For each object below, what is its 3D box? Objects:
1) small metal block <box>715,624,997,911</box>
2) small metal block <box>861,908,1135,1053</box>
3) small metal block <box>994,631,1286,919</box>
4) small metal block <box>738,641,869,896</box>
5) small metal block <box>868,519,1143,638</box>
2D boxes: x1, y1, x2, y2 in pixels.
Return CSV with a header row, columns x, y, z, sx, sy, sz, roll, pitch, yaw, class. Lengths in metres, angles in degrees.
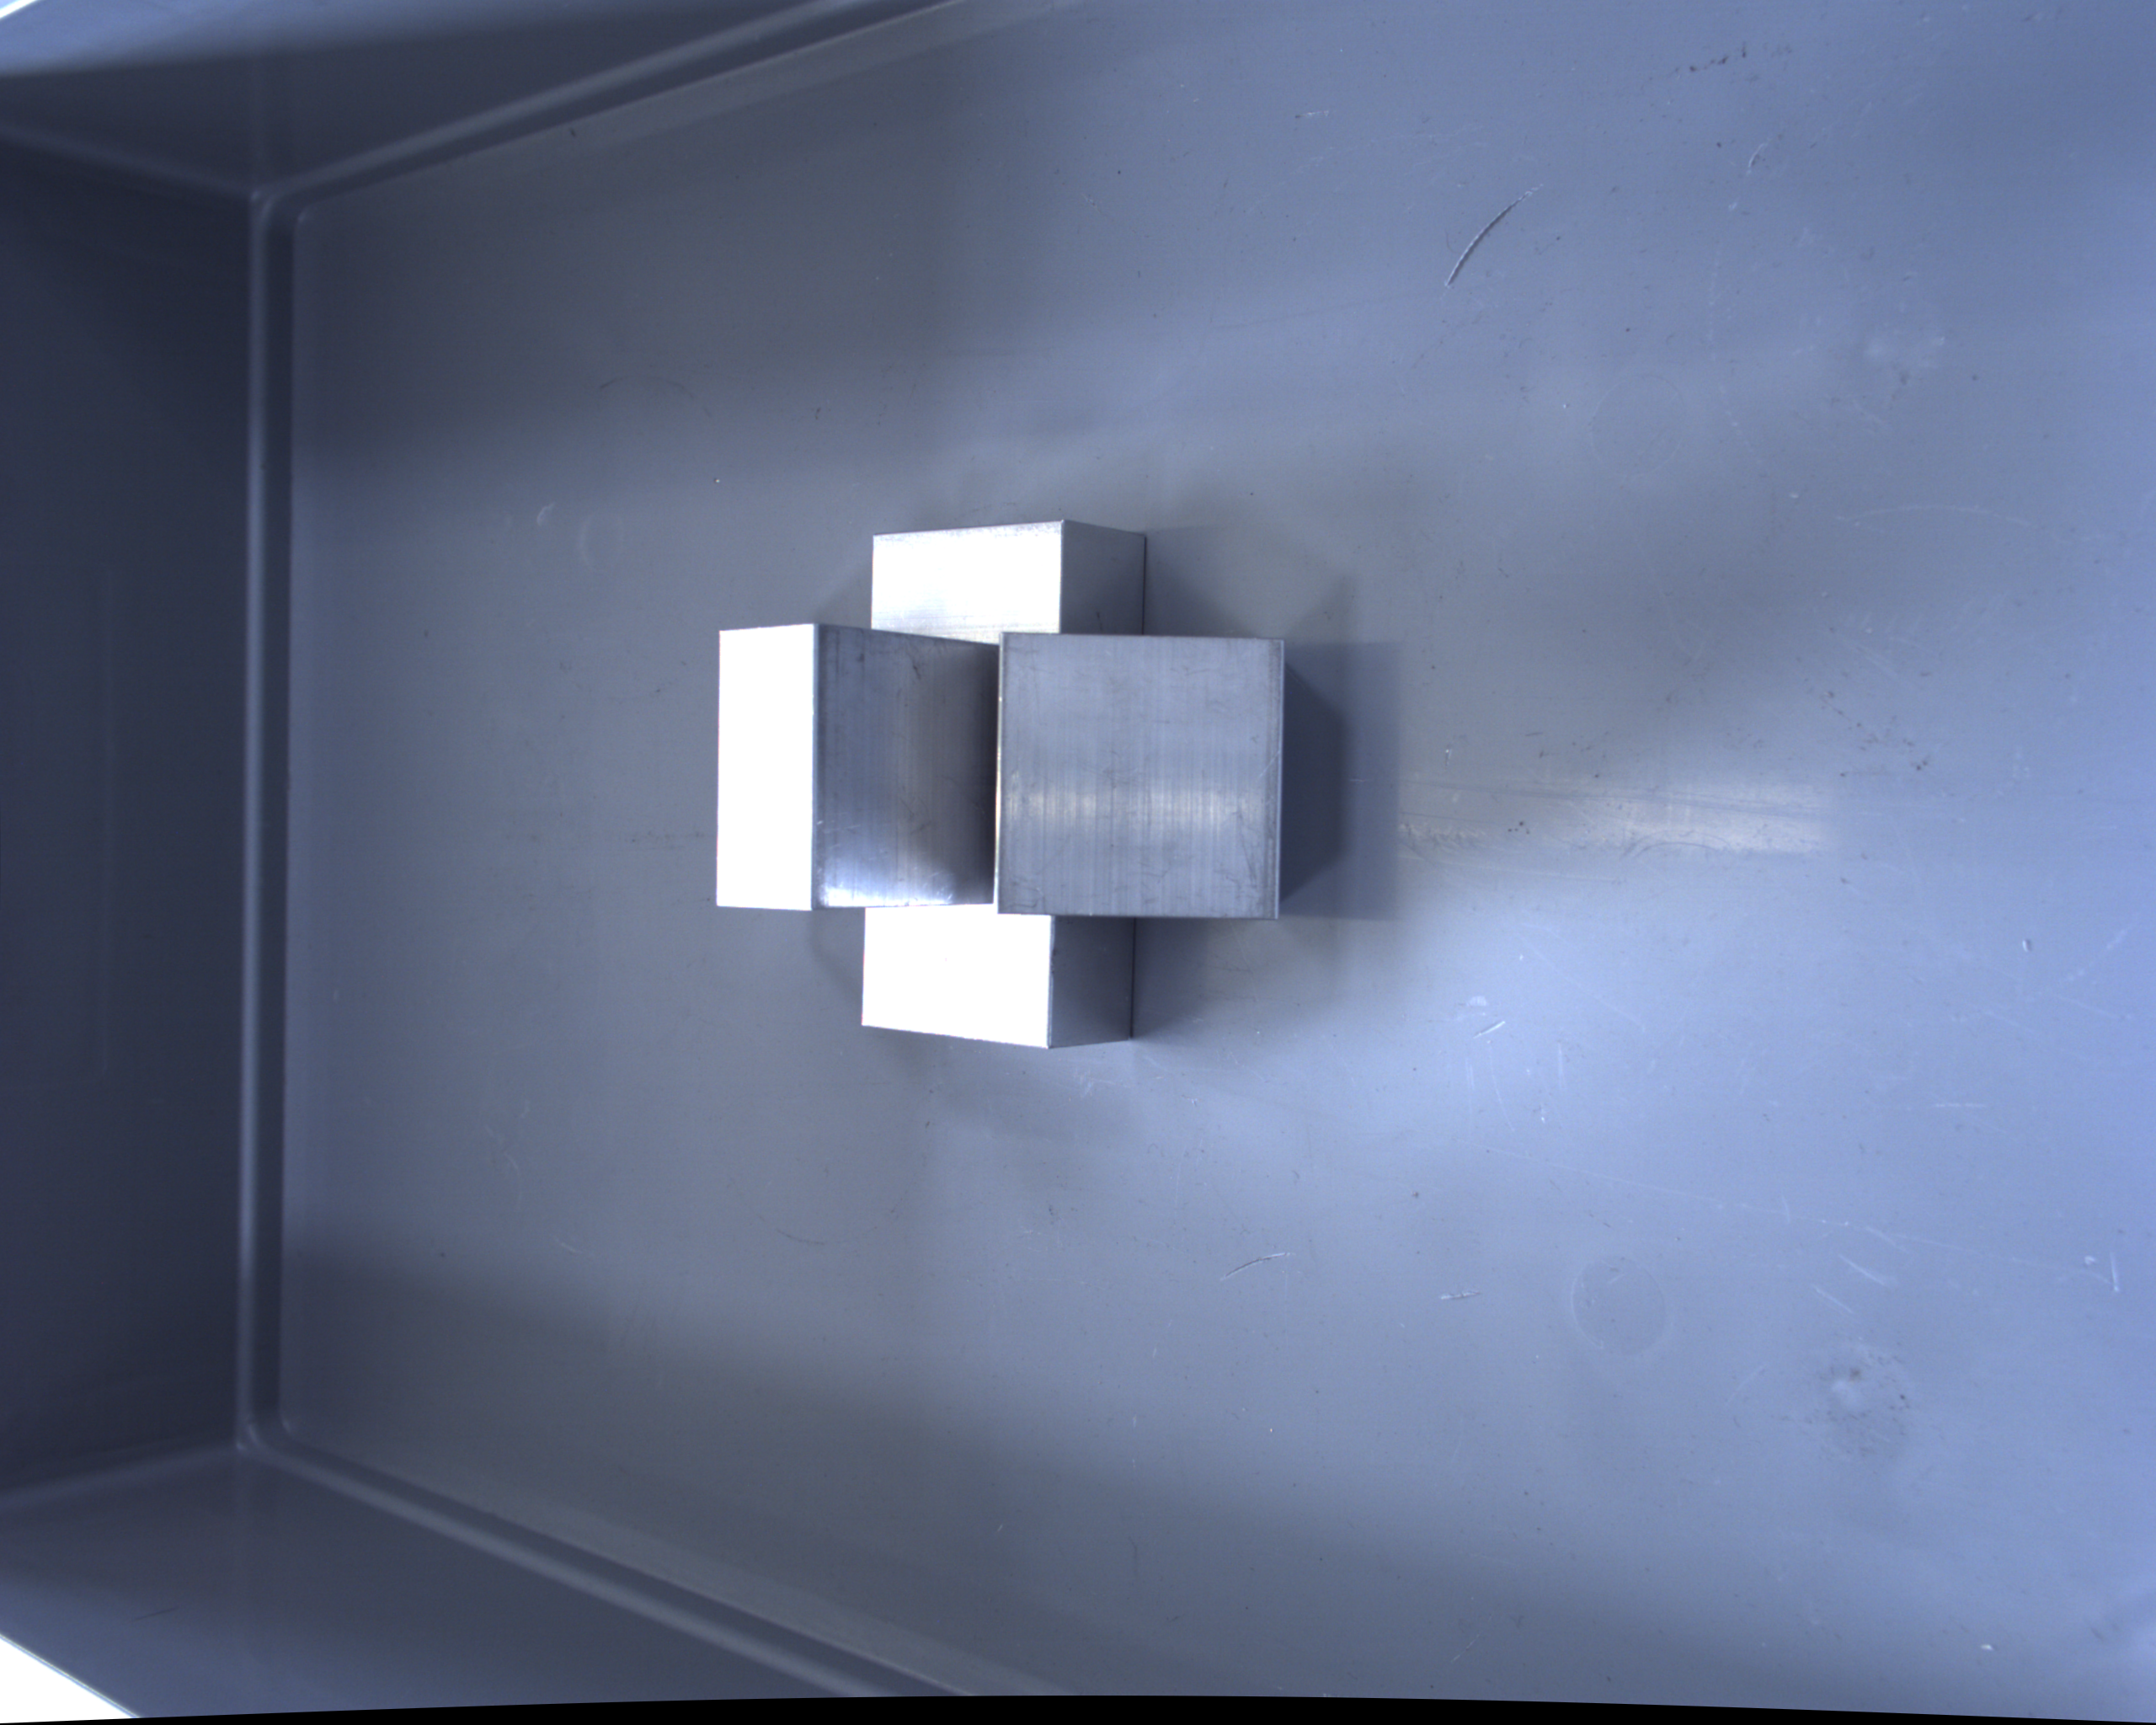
x,y,z,sx,sy,sz,roll,pitch,yaw,class
-0.040,-0.017,0.388,0.025,0.050,0.050,1,91,39,small metal block
-0.016,0.010,0.417,0.050,0.025,0.050,3,92,40,small metal block
0.011,-0.016,0.380,0.050,0.025,0.050,1,92,0,small metal block
-0.057,-0.019,0.434,0.050,0.025,0.050,-172,83,-83,small metal block
-0.015,-0.041,0.416,0.050,0.025,0.050,3,92,39,small metal block
